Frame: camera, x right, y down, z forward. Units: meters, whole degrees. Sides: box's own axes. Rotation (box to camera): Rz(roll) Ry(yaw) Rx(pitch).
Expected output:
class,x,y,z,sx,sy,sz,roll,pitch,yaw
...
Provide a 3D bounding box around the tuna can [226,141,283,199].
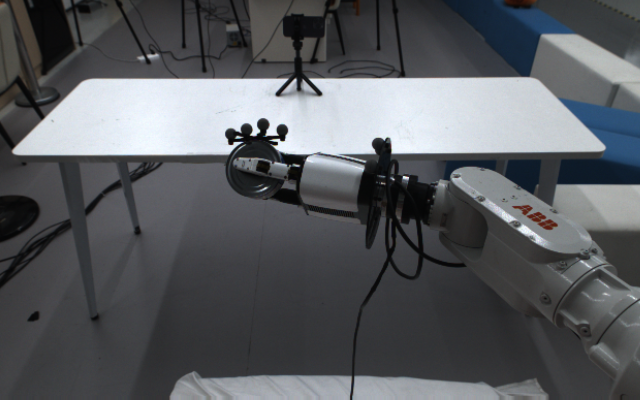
class,x,y,z,sx,sy,sz,roll,pitch,yaw
tuna can,-0.090,-0.044,0.718,0.085,0.085,0.034,10,-6,11
